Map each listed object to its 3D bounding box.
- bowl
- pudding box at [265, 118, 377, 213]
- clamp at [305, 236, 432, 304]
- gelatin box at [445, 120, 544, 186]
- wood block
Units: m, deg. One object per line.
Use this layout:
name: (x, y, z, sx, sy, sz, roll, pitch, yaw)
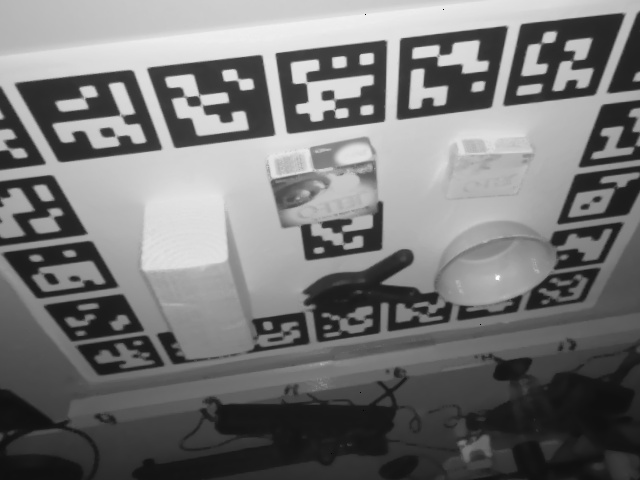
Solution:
bowl: (0.220, 0.015, 0.884, 0.162, 0.055, 0.160, -5, 138, -4)
pudding box: (0.003, -0.078, 0.730, 0.114, 0.039, 0.089, -9, 137, -5)
clamp: (0.060, 0.051, 0.912, 0.165, 0.037, 0.121, -12, 141, 6)
gelatin box: (0.189, -0.093, 0.754, 0.090, 0.030, 0.072, -2, 138, -10)
wood block: (-0.147, 0.033, 0.790, 0.090, 0.091, 0.204, -4, 140, -4)
